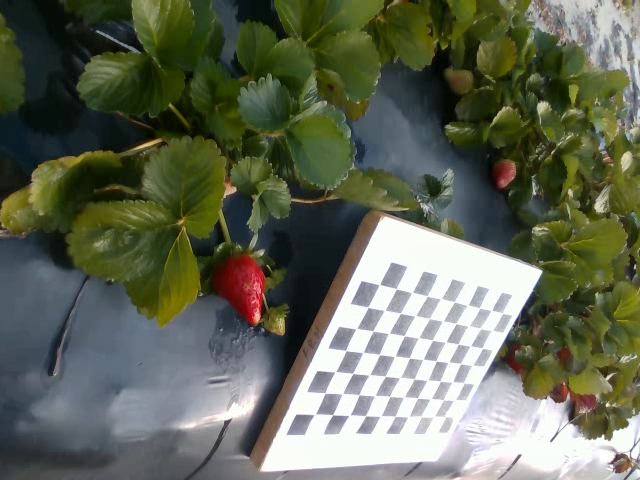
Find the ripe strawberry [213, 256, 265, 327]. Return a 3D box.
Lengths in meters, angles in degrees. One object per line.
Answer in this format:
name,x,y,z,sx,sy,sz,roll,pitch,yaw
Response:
ripe strawberry,-0.059,0.044,0.468,0.043,0.057,0.052,-10,-31,-26
